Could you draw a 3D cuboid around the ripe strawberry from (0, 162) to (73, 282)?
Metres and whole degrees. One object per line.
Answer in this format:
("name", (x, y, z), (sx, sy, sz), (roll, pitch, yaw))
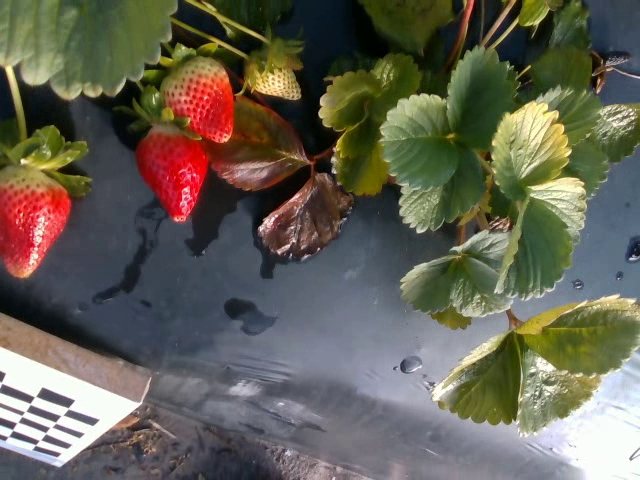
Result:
("ripe strawberry", (-0.165, -0.009, 0.330), (0.050, 0.065, 0.049), (6, -3, 15))

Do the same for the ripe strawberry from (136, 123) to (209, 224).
("ripe strawberry", (-0.083, -0.034, 0.334), (0.044, 0.055, 0.041), (-11, -6, 33))
